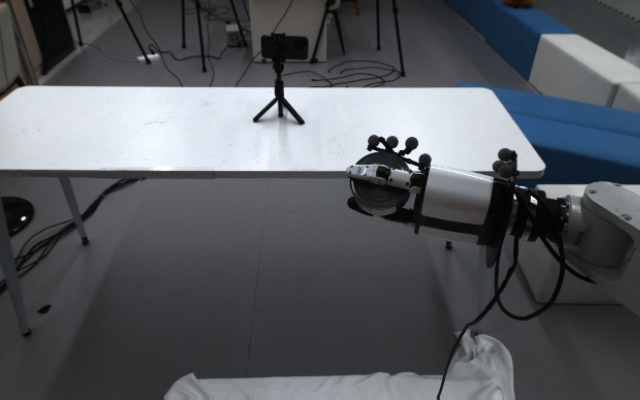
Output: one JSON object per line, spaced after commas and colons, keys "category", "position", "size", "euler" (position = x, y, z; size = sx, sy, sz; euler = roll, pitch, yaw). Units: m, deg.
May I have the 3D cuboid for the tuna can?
{"category": "tuna can", "position": [0.086, -0.026, 0.678], "size": [0.085, 0.034, 0.085], "euler": [-4, 66, 10]}
